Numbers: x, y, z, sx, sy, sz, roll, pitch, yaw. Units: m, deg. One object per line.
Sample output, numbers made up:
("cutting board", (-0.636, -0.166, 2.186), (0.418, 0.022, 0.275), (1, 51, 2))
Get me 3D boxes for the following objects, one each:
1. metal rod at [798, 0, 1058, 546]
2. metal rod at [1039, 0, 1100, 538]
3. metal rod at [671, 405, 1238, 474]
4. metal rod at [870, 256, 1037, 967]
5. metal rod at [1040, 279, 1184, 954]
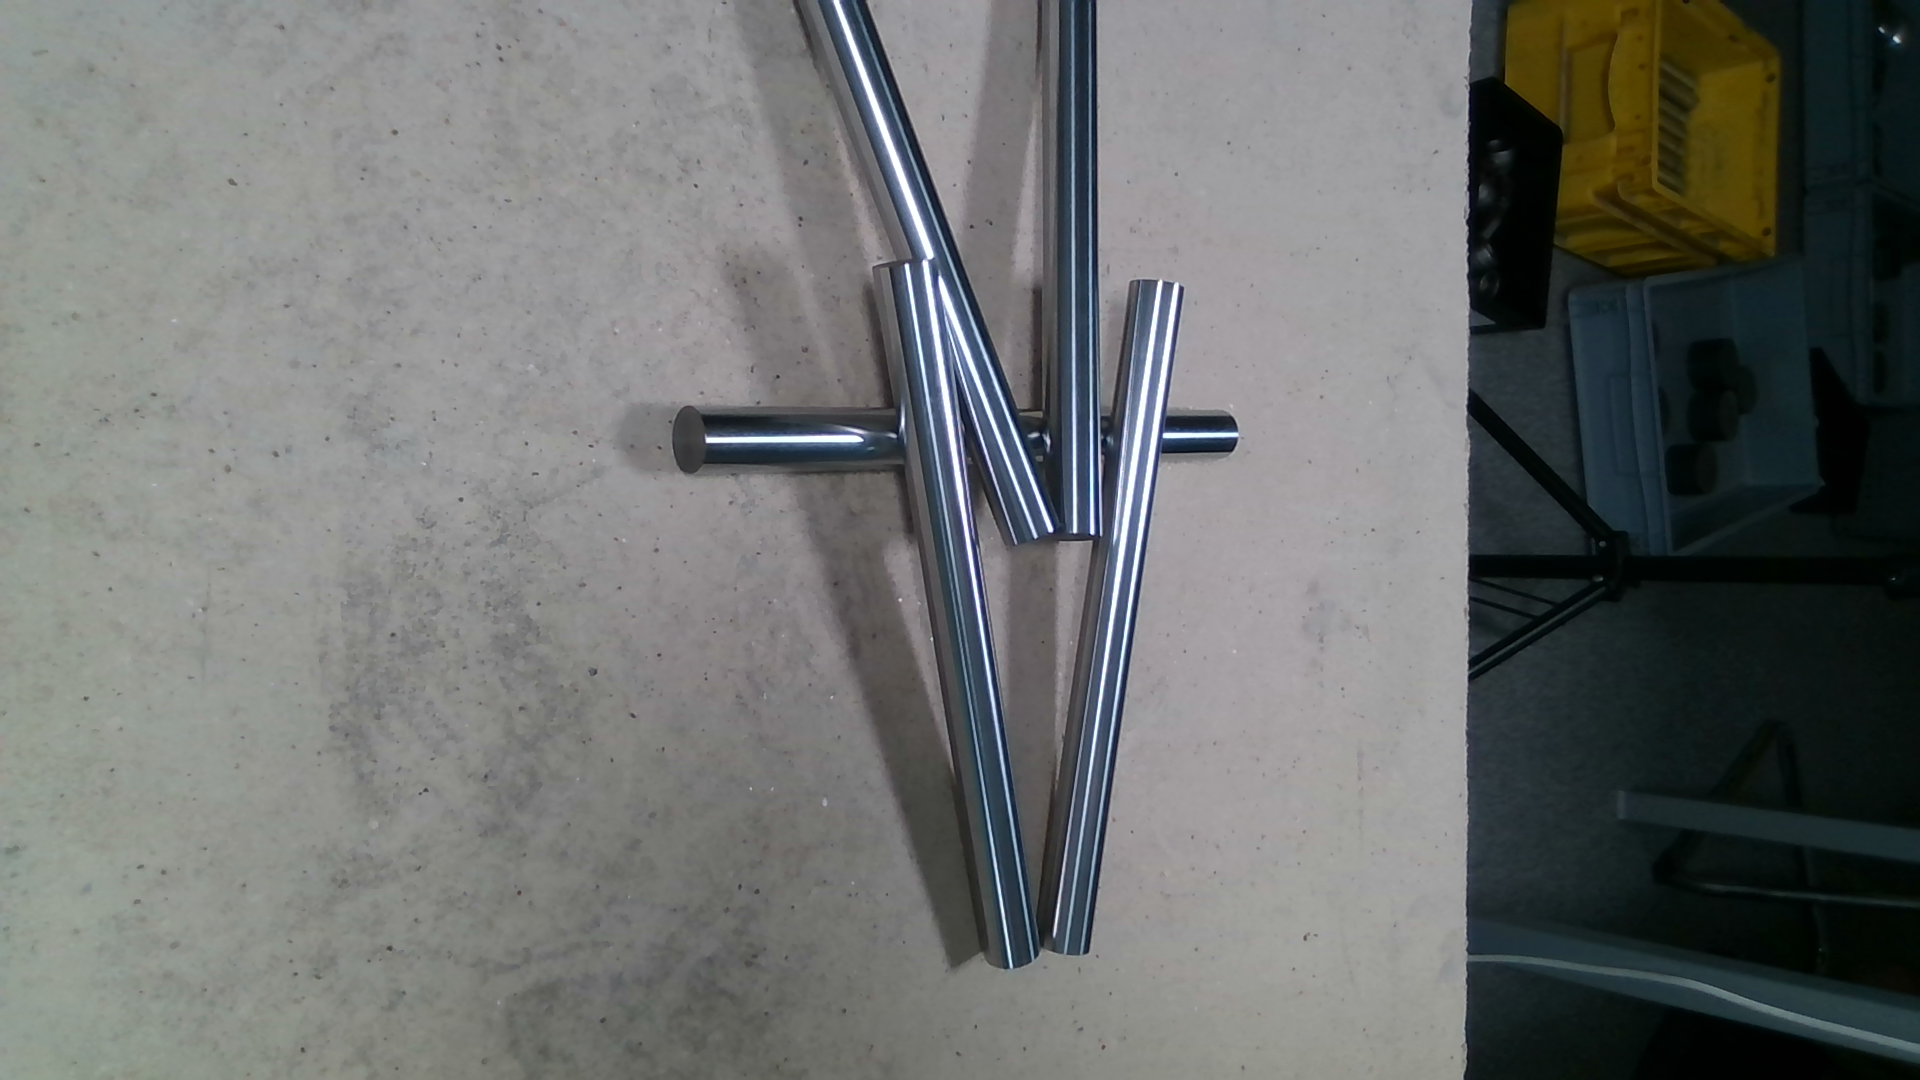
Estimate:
("metal rod", (-0.024, -0.141, 0.545), (0.025, 0.025, 0.300), (-28, 102, -37))
("metal rod", (0.048, -0.149, 0.605), (0.025, 0.025, 0.300), (7, 80, -40))
("metal rod", (0.016, -0.045, 0.596), (0.300, 0.025, 0.025), (-4, 93, -40))
("metal rod", (0.000, 0.037, 0.563), (0.025, 0.025, 0.300), (-22, 110, -38))
("metal rod", (0.067, 0.034, 0.619), (0.025, 0.025, 0.300), (7, 92, -40))
